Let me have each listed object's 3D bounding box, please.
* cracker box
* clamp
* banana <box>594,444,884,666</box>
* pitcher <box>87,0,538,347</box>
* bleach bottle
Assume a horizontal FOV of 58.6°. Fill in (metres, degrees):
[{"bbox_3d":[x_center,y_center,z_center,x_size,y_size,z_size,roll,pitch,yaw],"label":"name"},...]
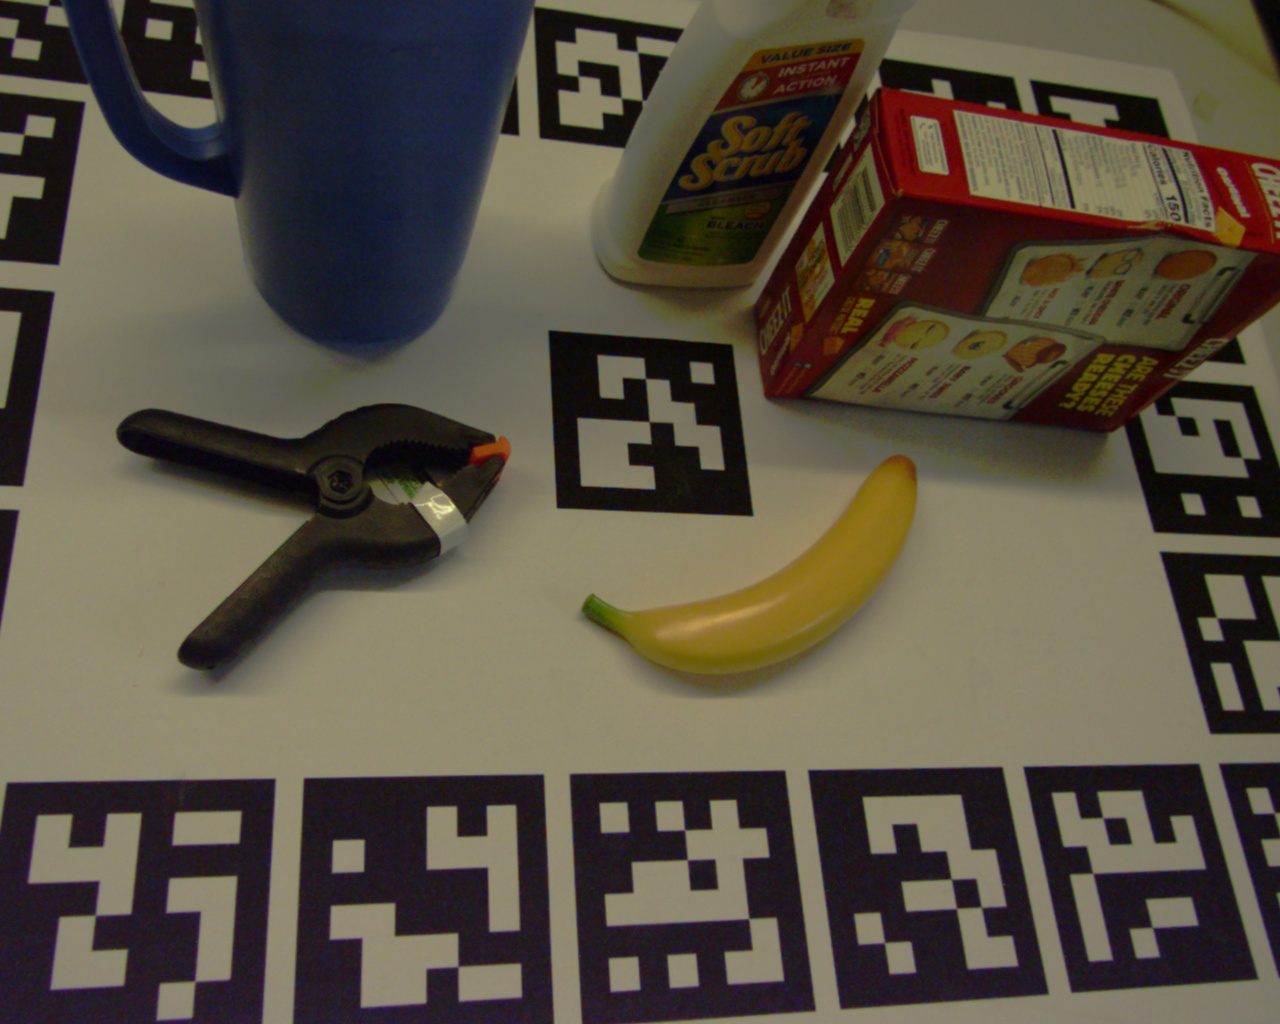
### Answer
[{"bbox_3d":[0.188,-0.117,0.606,0.212,0.164,0.072,3,62,-12],"label":"cracker box"},{"bbox_3d":[-0.141,-0.005,0.552,0.163,0.037,0.122,-14,67,-23],"label":"clamp"},{"bbox_3d":[0.071,0.026,0.602,0.196,0.039,0.074,-33,76,-26],"label":"banana"},{"bbox_3d":[-0.132,-0.177,0.497,0.187,0.243,0.134,-16,70,-25],"label":"pitcher"},{"bbox_3d":[0.040,-0.201,0.576,0.102,0.251,0.068,2,64,-15],"label":"bleach bottle"}]
